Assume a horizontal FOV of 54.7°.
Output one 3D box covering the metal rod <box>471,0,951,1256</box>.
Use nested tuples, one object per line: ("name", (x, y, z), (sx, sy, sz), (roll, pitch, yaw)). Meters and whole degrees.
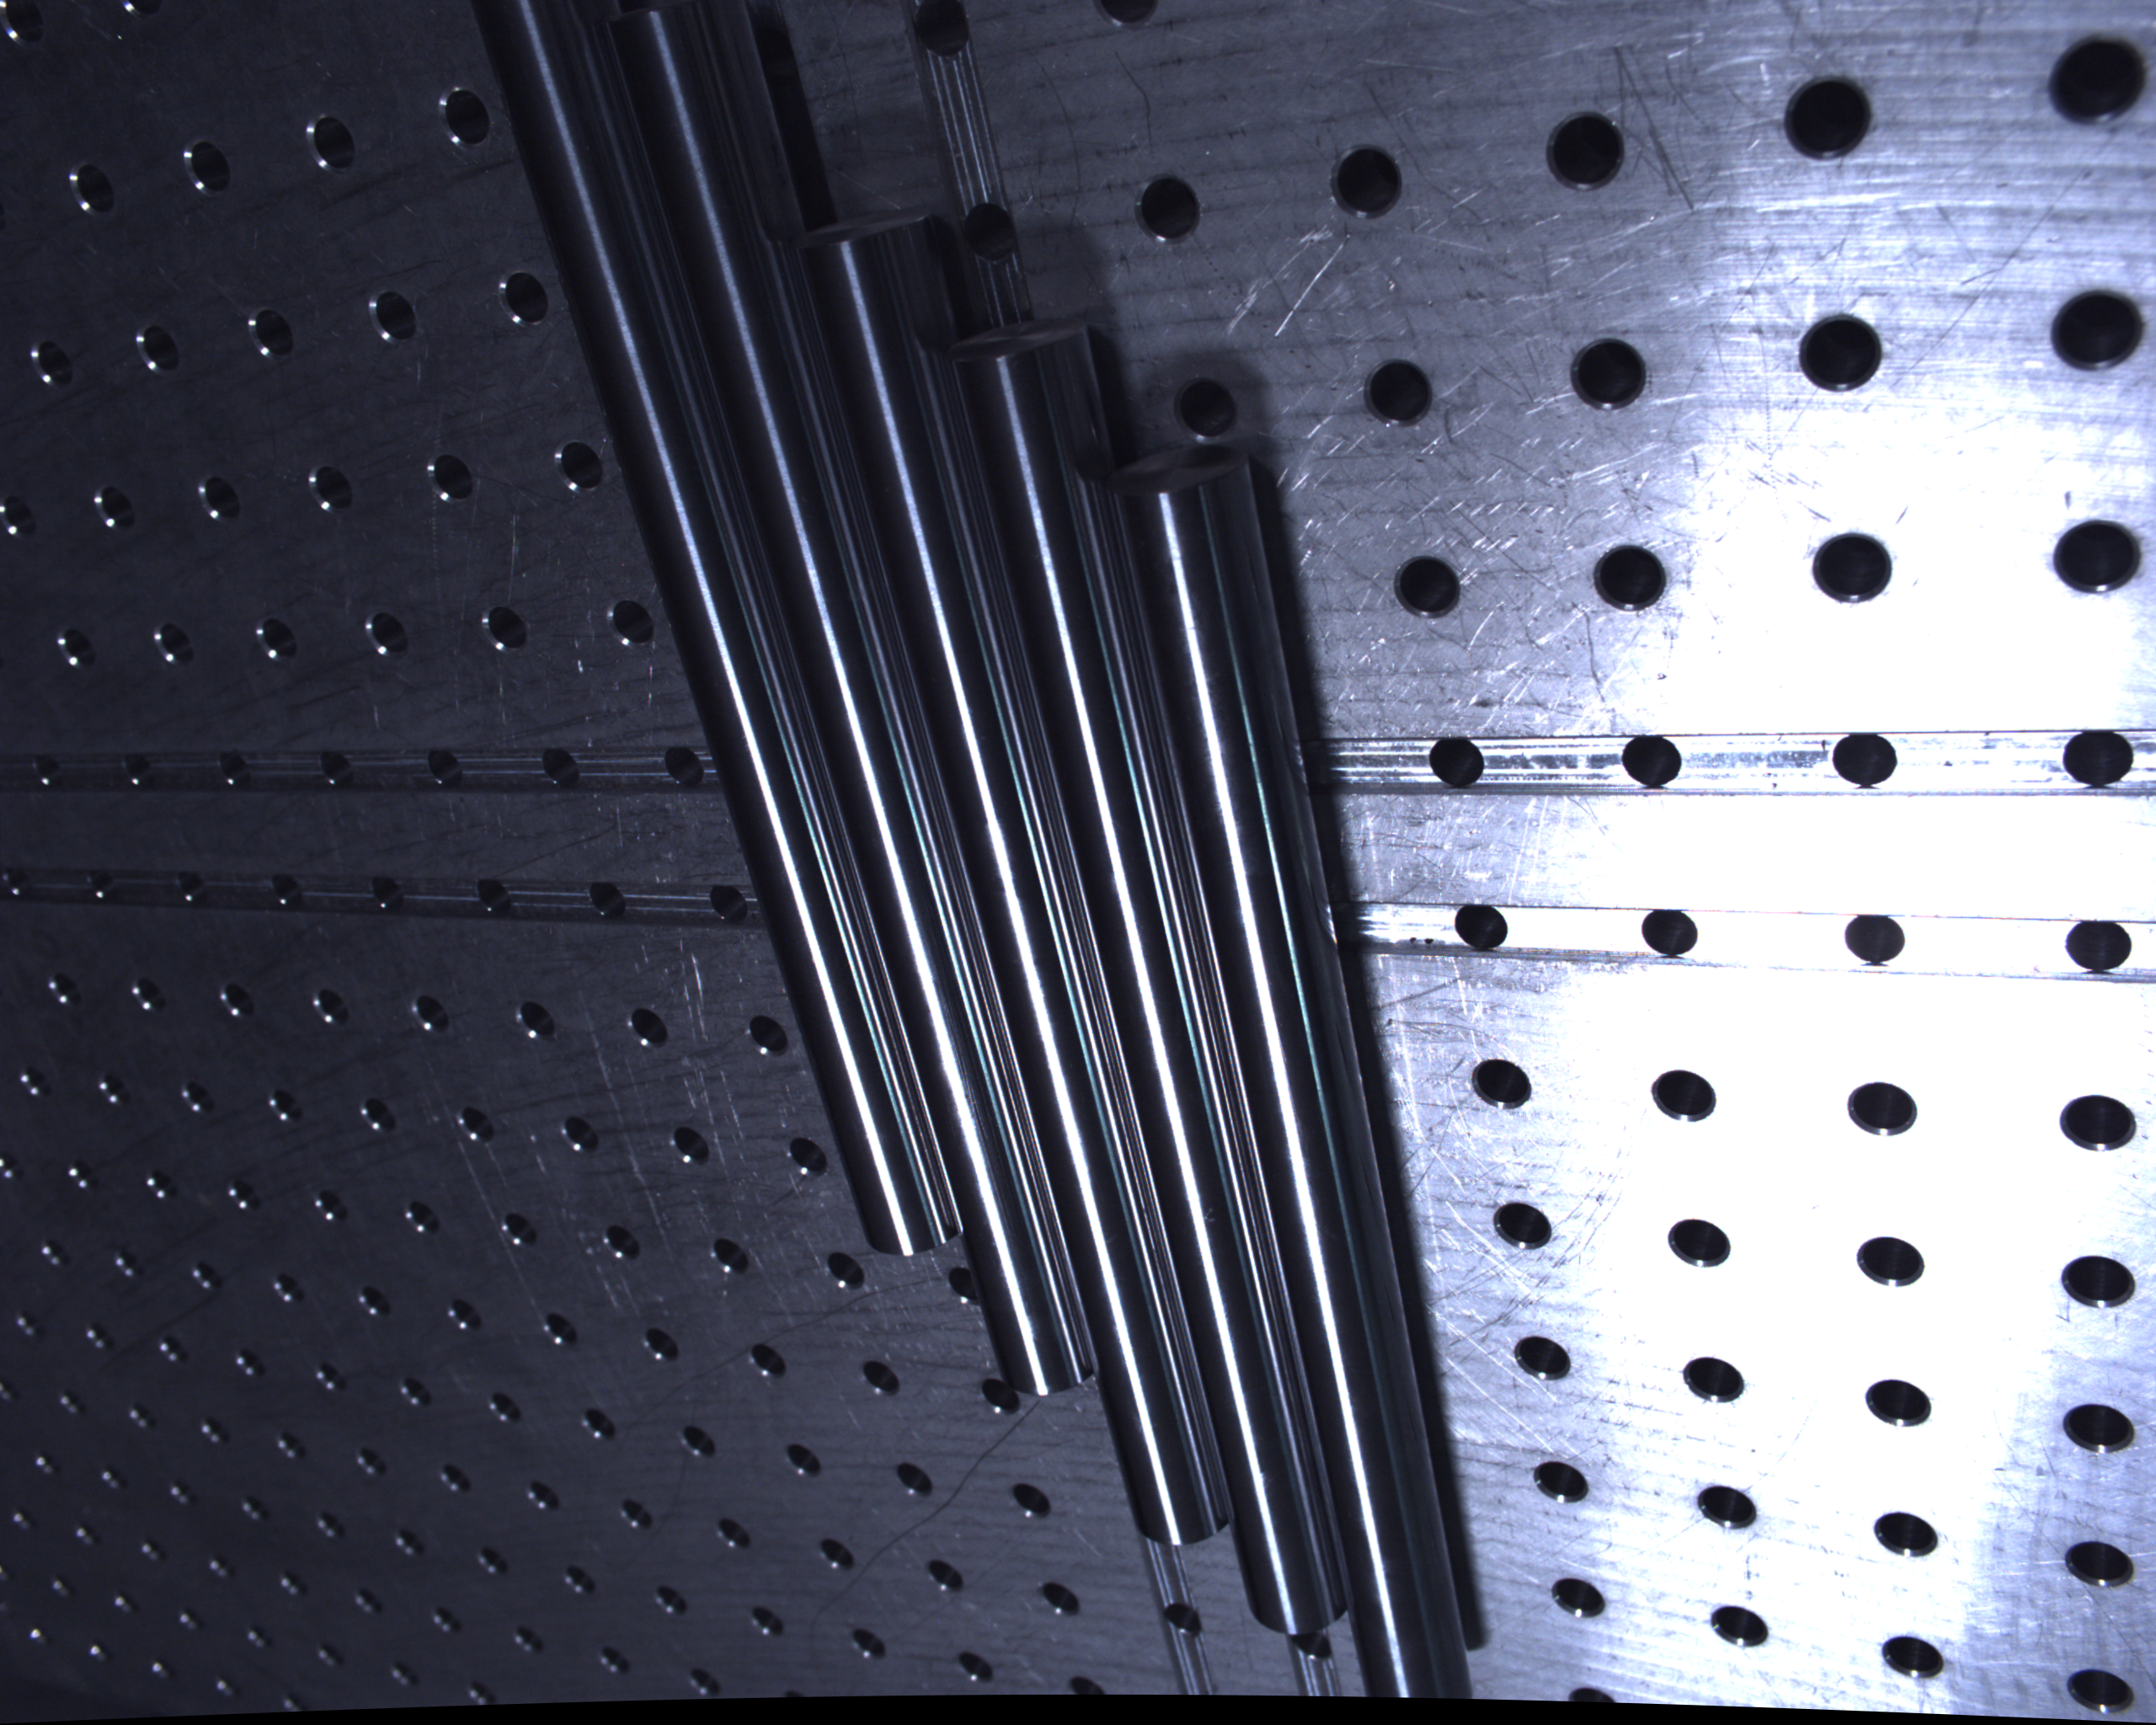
("metal rod", (-0.068, -0.048, 0.415), (0.025, 0.025, 0.298), (1, 119, 27))

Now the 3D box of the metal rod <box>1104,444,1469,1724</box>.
("metal rod", (0.048, 0.063, 0.423), (0.025, 0.025, 0.298), (1, 119, 27))

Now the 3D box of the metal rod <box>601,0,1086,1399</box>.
("metal rod", (-0.038, -0.015, 0.419), (0.025, 0.025, 0.298), (1, 119, 27))

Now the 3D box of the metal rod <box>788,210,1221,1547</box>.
("metal rod", (-0.007, 0.021, 0.425), (0.025, 0.025, 0.298), (1, 119, 27))

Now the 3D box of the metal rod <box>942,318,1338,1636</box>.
("metal rod", (0.020, 0.040, 0.424), (0.025, 0.025, 0.298), (1, 119, 27))
